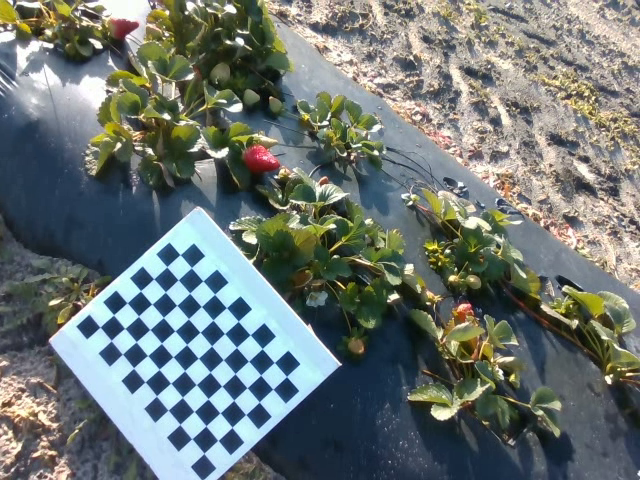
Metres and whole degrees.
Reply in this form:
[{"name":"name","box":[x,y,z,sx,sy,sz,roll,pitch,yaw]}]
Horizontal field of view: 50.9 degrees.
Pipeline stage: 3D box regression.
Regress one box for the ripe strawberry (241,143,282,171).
[{"name":"ripe strawberry","box":[-0.092,-0.131,1.058,0.072,0.057,0.055,21,-6,17]}]
